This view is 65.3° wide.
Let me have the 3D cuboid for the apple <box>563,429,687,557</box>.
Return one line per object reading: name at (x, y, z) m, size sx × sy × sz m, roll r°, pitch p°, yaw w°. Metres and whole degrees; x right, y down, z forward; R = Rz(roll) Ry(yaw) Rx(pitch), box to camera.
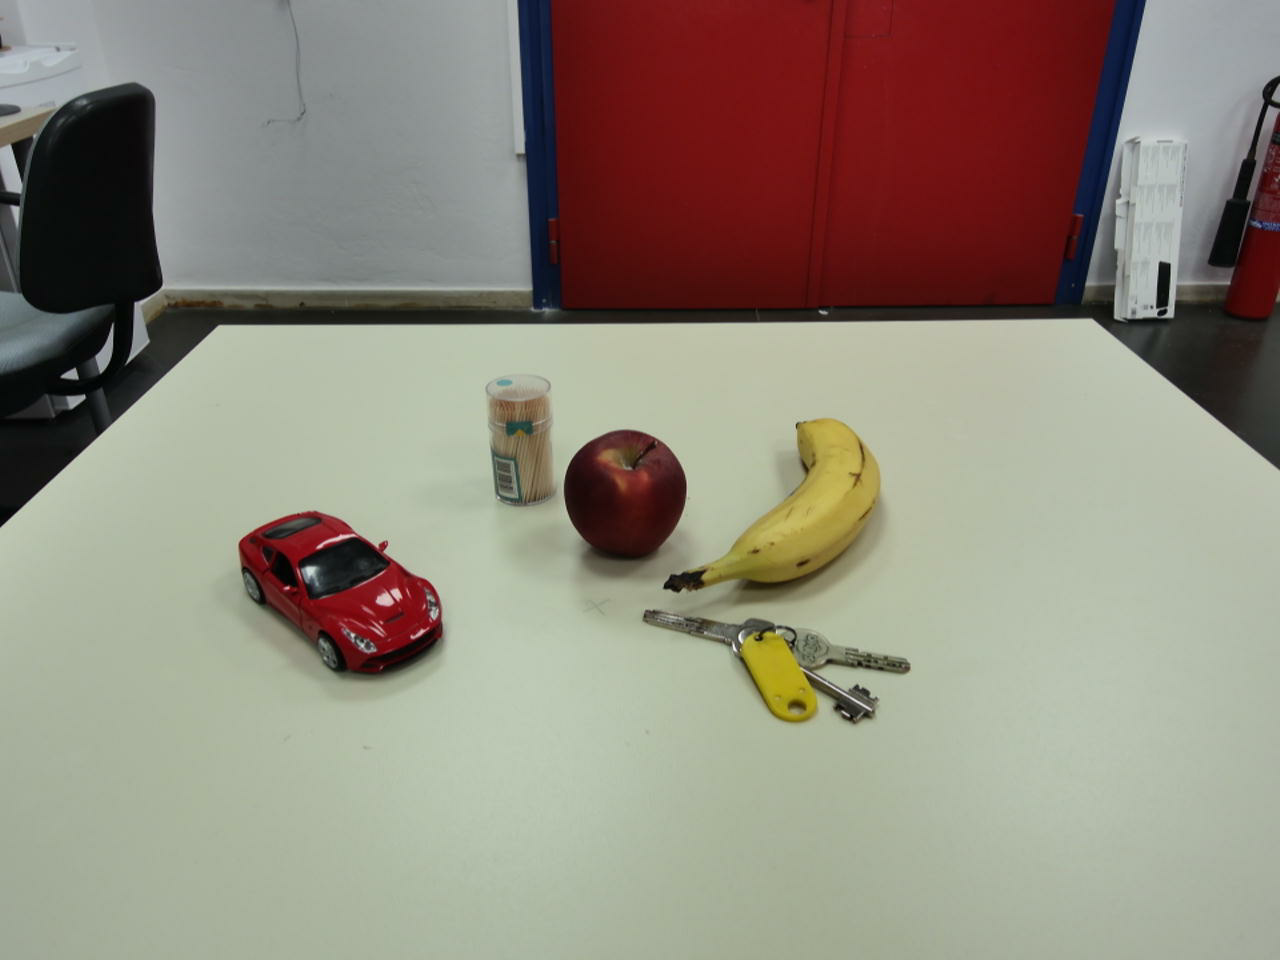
apple at (-0.008, 0.008, 0.562) m, size 0.070 × 0.072 × 0.070 m, roll 1°, pitch 26°, yaw 0°
